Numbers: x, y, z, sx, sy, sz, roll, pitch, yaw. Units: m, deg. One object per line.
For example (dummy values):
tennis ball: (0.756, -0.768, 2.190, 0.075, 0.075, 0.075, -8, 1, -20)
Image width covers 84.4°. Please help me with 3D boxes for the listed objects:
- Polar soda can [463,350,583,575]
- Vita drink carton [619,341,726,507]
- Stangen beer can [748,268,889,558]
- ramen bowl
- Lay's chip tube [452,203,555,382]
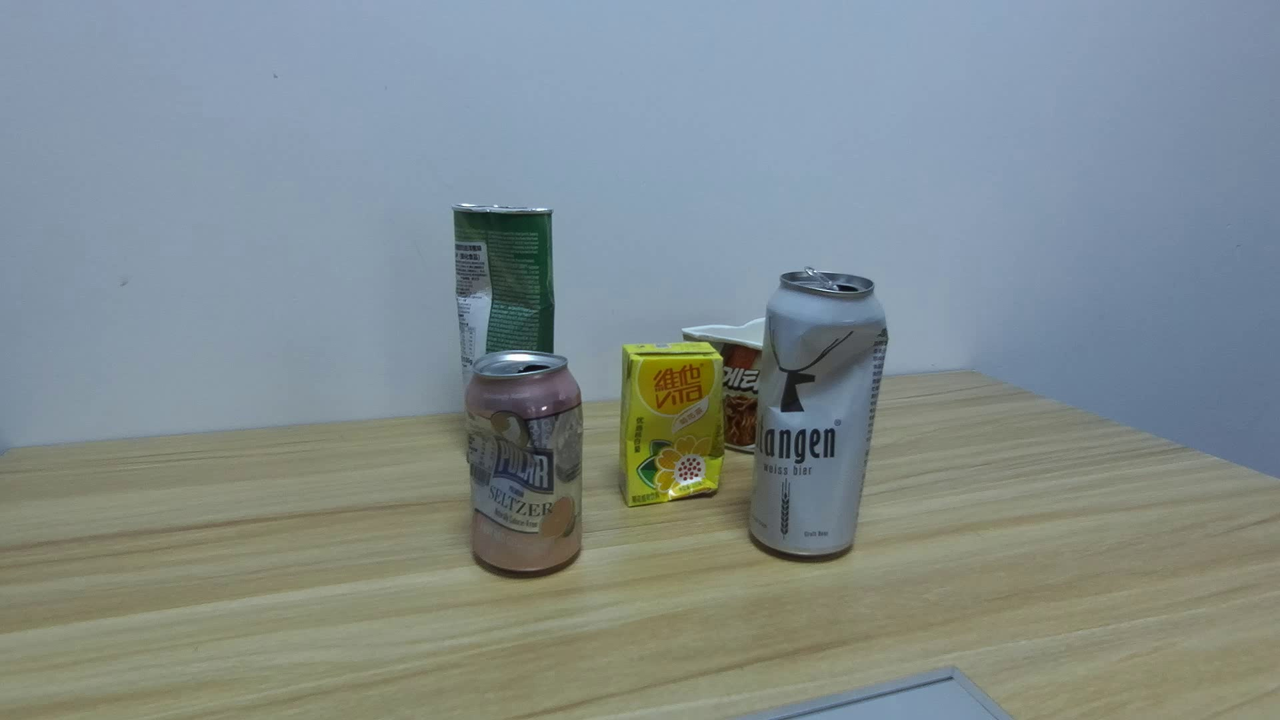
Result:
Polar soda can: (-0.068, 0.060, 0.417, 0.067, 0.122, 0.074, -3, 13, -11)
Vita drink carton: (0.024, 0.045, 0.501, 0.076, 0.109, 0.043, -2, 15, -11)
Stangen beer can: (0.105, 0.033, 0.426, 0.070, 0.173, 0.070, 11, 19, 31)
ramen bowl: (0.112, 0.022, 0.629, 0.114, 0.097, 0.133, -9, 20, -37)
Lay's chip tube: (-0.106, -0.017, 0.551, 0.075, 0.199, 0.069, -2, 14, -11)
